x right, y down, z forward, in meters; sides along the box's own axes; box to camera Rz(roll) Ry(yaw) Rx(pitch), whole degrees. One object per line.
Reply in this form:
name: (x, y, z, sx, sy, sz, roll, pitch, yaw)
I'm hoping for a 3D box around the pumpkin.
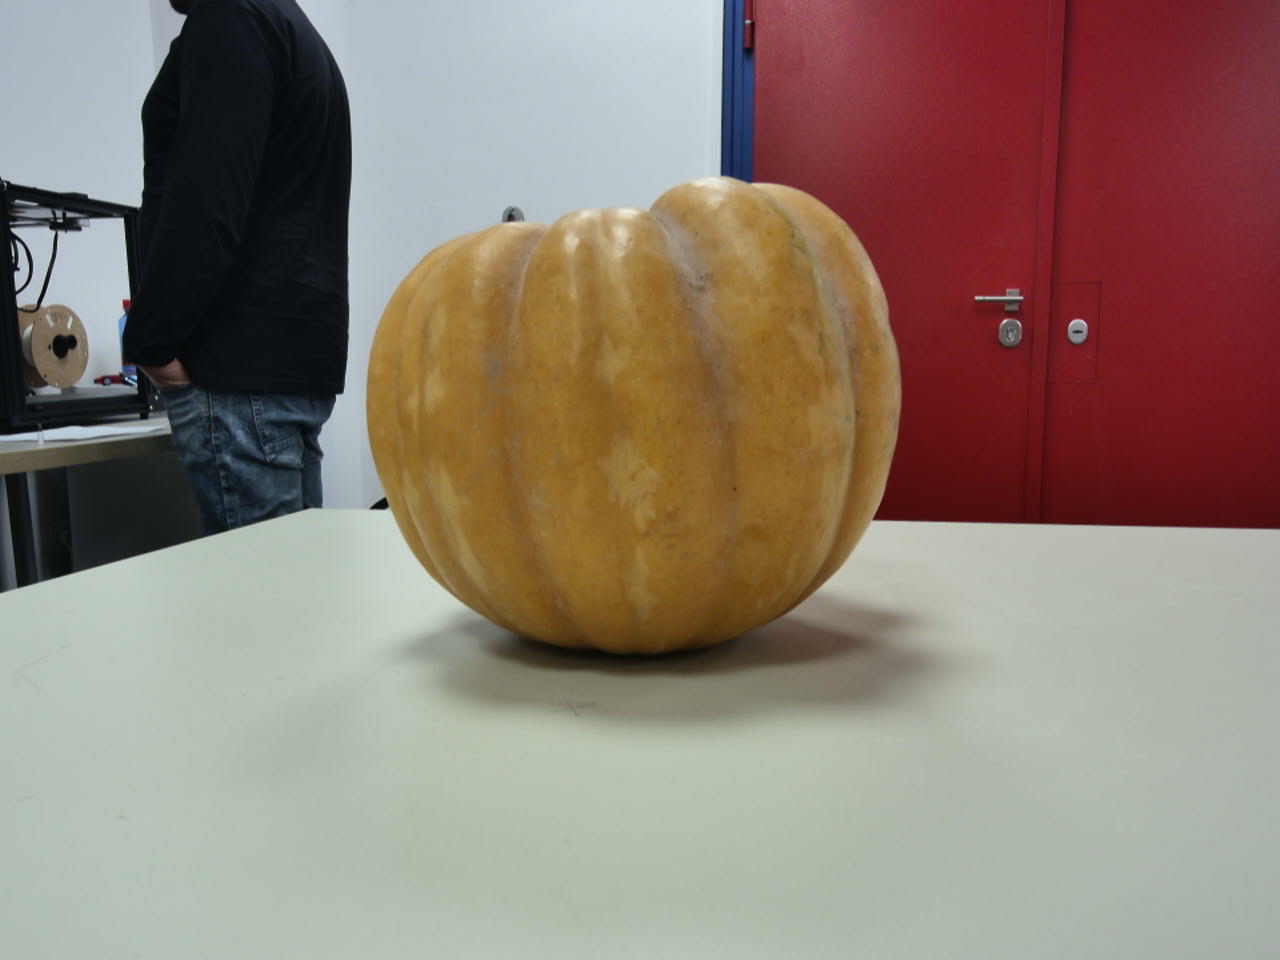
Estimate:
pumpkin: (0.000, -0.026, 0.440, 0.230, 0.194, 0.230, 0, 4, 0)
